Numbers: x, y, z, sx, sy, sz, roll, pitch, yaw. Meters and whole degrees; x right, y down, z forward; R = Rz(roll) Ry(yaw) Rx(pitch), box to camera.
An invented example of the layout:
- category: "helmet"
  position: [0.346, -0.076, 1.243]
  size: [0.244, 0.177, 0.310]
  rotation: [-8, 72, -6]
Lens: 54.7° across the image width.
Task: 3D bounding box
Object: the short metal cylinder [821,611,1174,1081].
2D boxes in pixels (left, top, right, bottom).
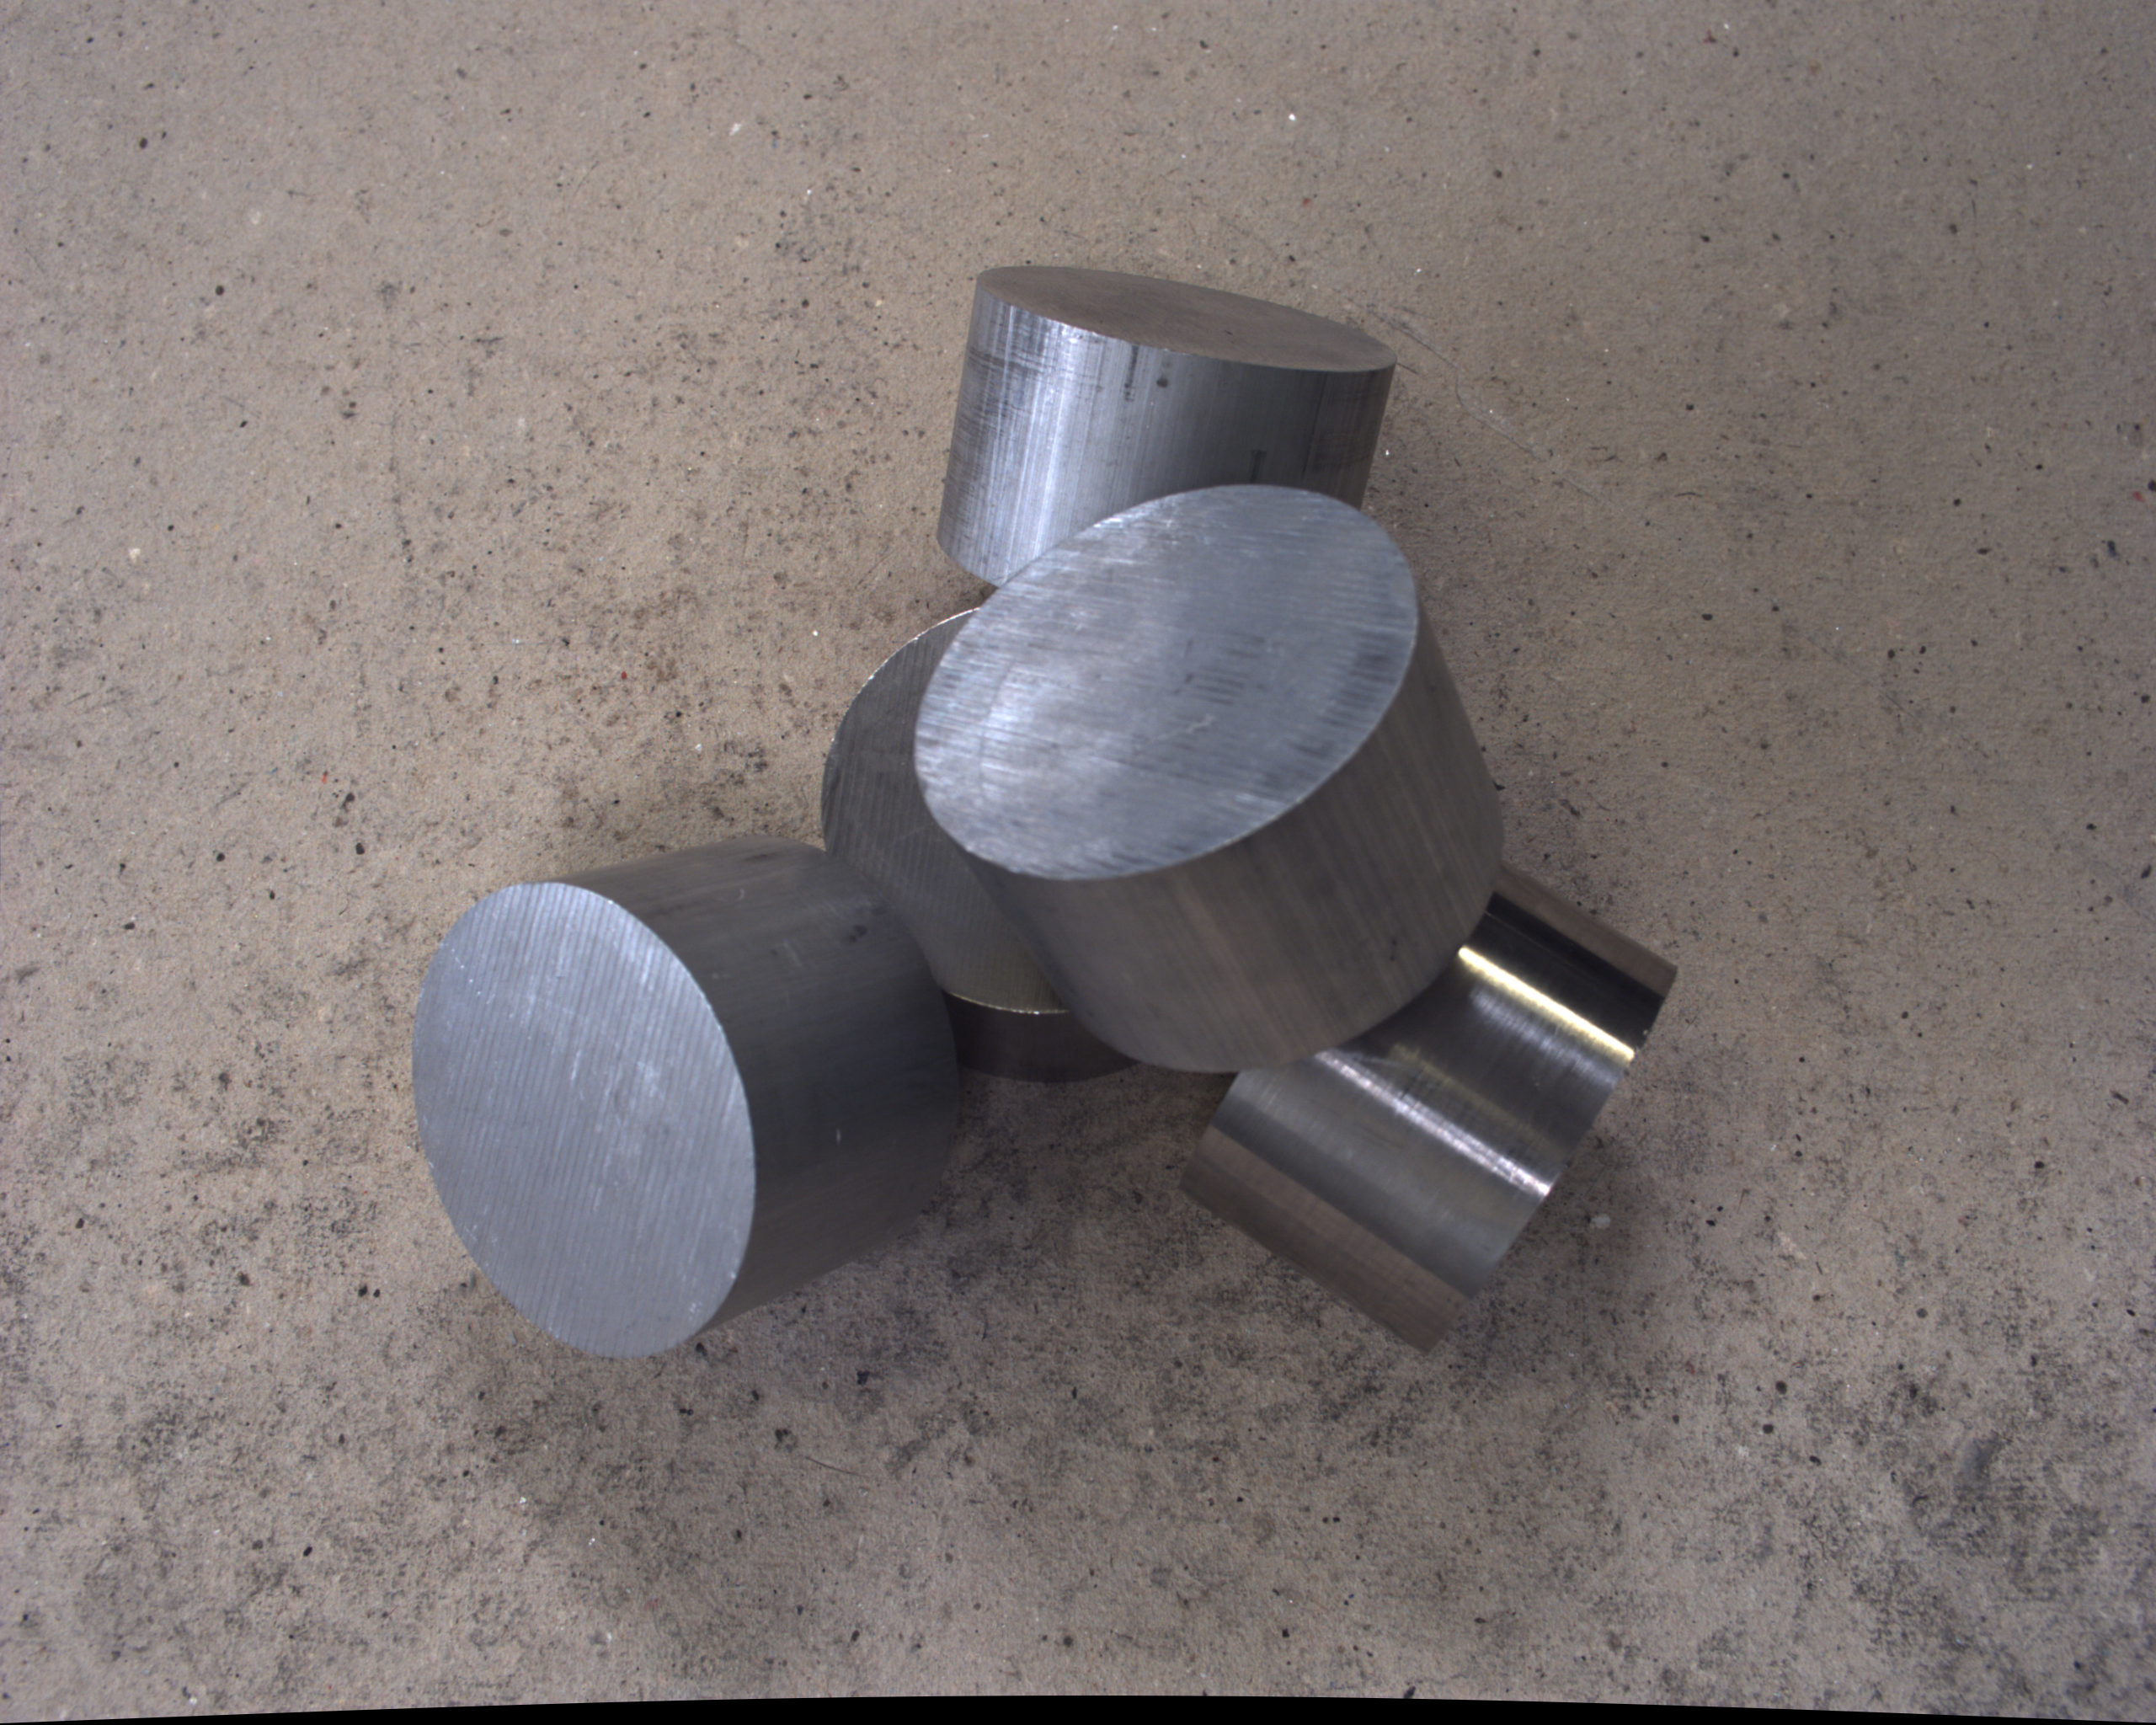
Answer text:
- category: "short metal cylinder"
  position: [-0.006, -0.003, 0.397]
  size: [0.081, 0.050, 0.080]
  rotation: [0, 70, -1]

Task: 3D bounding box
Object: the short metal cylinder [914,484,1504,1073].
- category: "short metal cylinder"
  position: [0.021, -0.014, 0.330]
  size: [0.080, 0.050, 0.080]
  rotation: [-15, 46, 17]

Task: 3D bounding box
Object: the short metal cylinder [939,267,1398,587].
- category: "short metal cylinder"
  position: [0.016, -0.081, 0.403]
  size: [0.080, 0.080, 0.050]
  rotation: [13, 114, 4]

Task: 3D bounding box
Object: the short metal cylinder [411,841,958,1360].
- category: "short metal cylinder"
  position: [-0.068, 0.039, 0.360]
  size: [0.080, 0.050, 0.079]
  rotation: [7, 102, 34]

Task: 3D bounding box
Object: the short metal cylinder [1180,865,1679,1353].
- category: "short metal cylinder"
  position: [0.061, 0.038, 0.366]
  size: [0.050, 0.080, 0.080]
  rotation: [33, 73, 11]
